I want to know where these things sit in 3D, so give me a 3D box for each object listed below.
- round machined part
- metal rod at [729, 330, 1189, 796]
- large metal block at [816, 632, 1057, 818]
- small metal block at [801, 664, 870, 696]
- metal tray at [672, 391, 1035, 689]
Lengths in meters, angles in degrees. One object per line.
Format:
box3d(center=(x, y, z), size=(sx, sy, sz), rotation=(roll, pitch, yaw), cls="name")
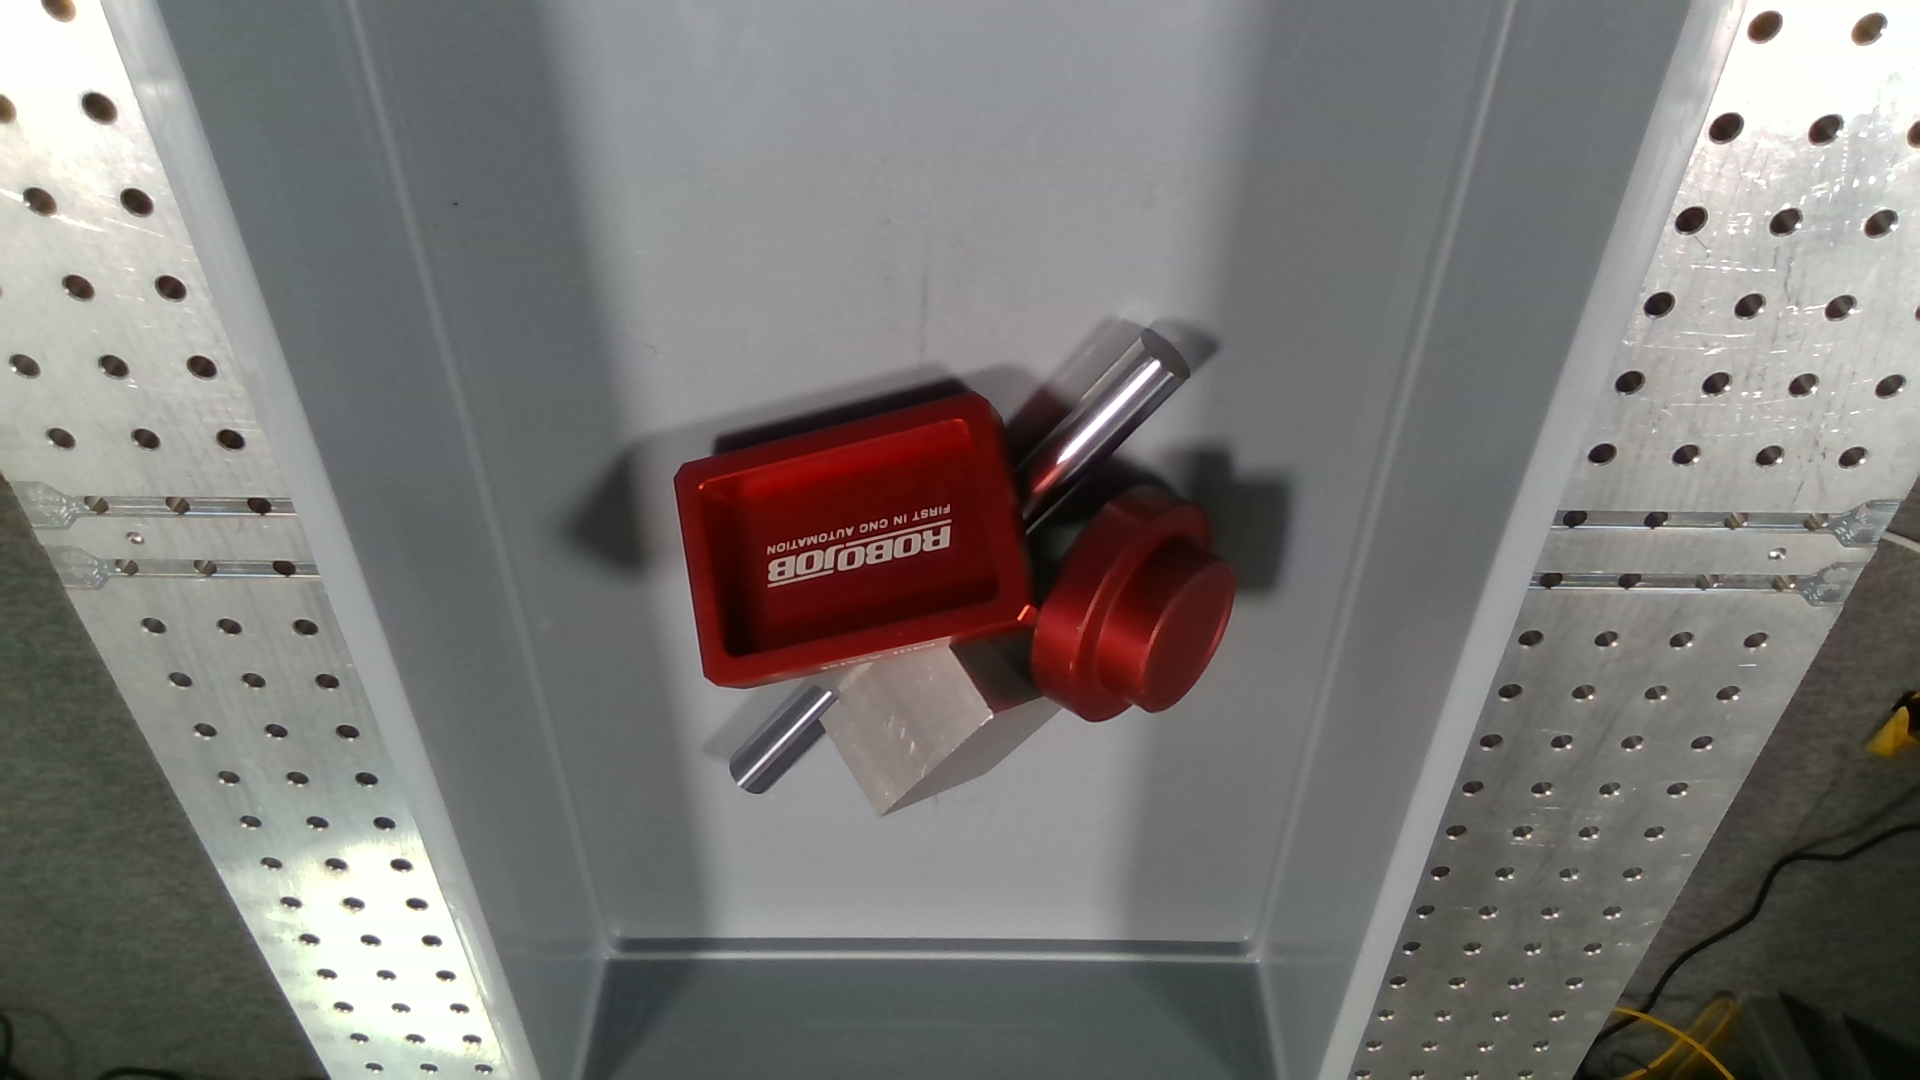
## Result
box3d(center=(0.075, 0.031, 0.554), size=(0.042, 0.098, 0.098), rotation=(28, 139, 31), cls="round machined part")
box3d(center=(-0.013, 0.022, 0.596), size=(0.025, 0.025, 0.301), rotation=(30, 124, -23), cls="metal rod")
box3d(center=(0.000, 0.068, 0.593), size=(0.080, 0.050, 0.080), rotation=(-46, 159, 31), cls="large metal block")
box3d(center=(-0.045, 0.032, 0.588), size=(0.025, 0.050, 0.050), rotation=(31, 124, -23), cls="small metal block")
box3d(center=(-0.041, 0.002, 0.539), size=(0.130, 0.090, 0.030), rotation=(-13, 169, 10), cls="metal tray")
